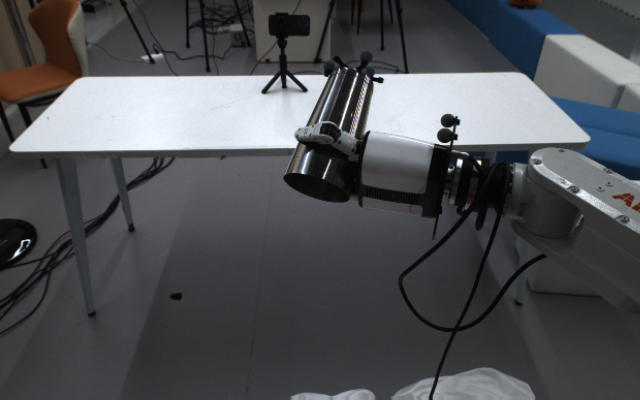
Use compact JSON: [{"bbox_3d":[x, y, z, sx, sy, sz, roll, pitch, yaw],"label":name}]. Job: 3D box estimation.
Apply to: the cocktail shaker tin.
[{"bbox_3d":[0.018,-0.093,0.662,0.093,0.093,0.170,14,72,16],"label":"cocktail shaker tin"}]
